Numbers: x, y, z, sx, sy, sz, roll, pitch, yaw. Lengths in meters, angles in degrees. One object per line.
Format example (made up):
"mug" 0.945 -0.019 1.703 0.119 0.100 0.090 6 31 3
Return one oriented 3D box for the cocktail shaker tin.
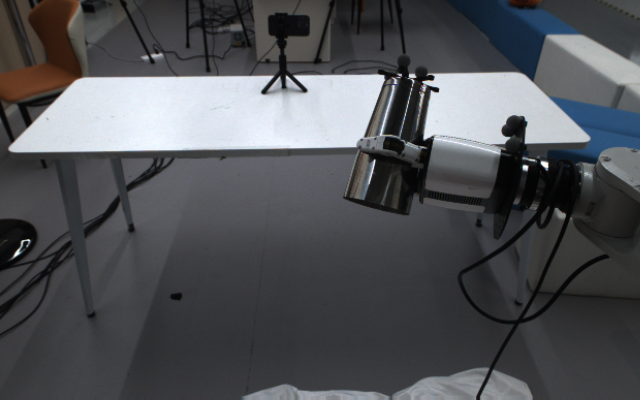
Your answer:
"cocktail shaker tin" 0.097 -0.074 0.654 0.093 0.170 0.093 16 -4 1
